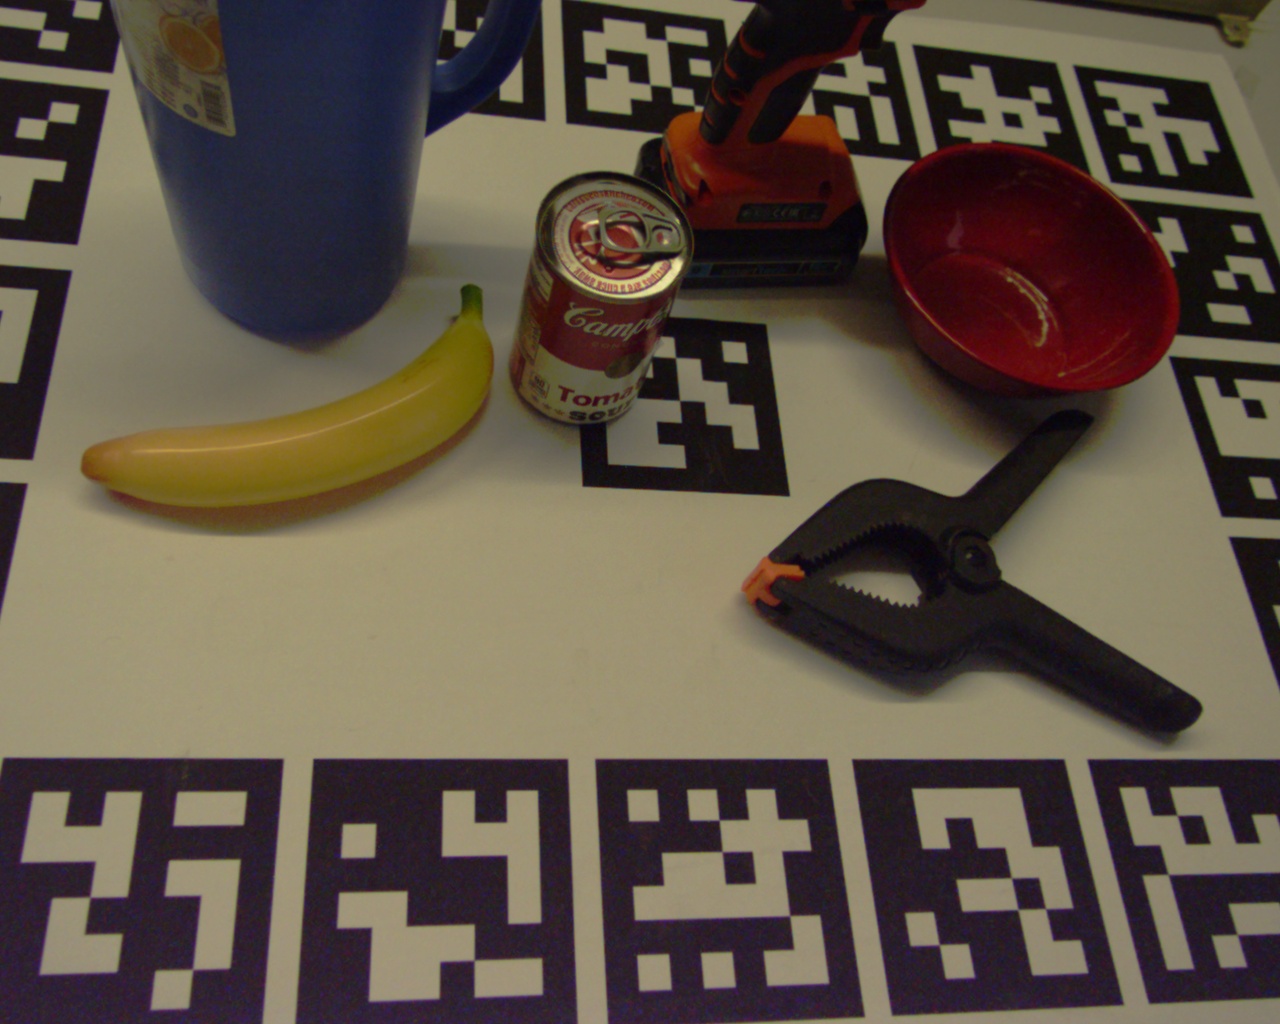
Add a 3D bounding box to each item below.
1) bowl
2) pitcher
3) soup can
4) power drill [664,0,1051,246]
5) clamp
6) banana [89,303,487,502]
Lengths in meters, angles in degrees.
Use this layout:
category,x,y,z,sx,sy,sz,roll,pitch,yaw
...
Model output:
category,x,y,z,sx,sy,sz,roll,pitch,yaw
bowl,0.190,-0.117,0.627,0.161,0.055,0.162,4,64,-10
pitcher,-0.131,-0.190,0.488,0.187,0.243,0.134,-21,67,-22
soup can,-0.024,-0.099,0.546,0.067,0.102,0.068,6,54,-9
power drill,0.097,-0.210,0.558,0.183,0.187,0.057,-2,65,-15
clamp,0.142,0.024,0.547,0.201,0.037,0.166,-1,67,-13
banana,-0.148,-0.043,0.529,0.195,0.039,0.075,-22,62,-23
